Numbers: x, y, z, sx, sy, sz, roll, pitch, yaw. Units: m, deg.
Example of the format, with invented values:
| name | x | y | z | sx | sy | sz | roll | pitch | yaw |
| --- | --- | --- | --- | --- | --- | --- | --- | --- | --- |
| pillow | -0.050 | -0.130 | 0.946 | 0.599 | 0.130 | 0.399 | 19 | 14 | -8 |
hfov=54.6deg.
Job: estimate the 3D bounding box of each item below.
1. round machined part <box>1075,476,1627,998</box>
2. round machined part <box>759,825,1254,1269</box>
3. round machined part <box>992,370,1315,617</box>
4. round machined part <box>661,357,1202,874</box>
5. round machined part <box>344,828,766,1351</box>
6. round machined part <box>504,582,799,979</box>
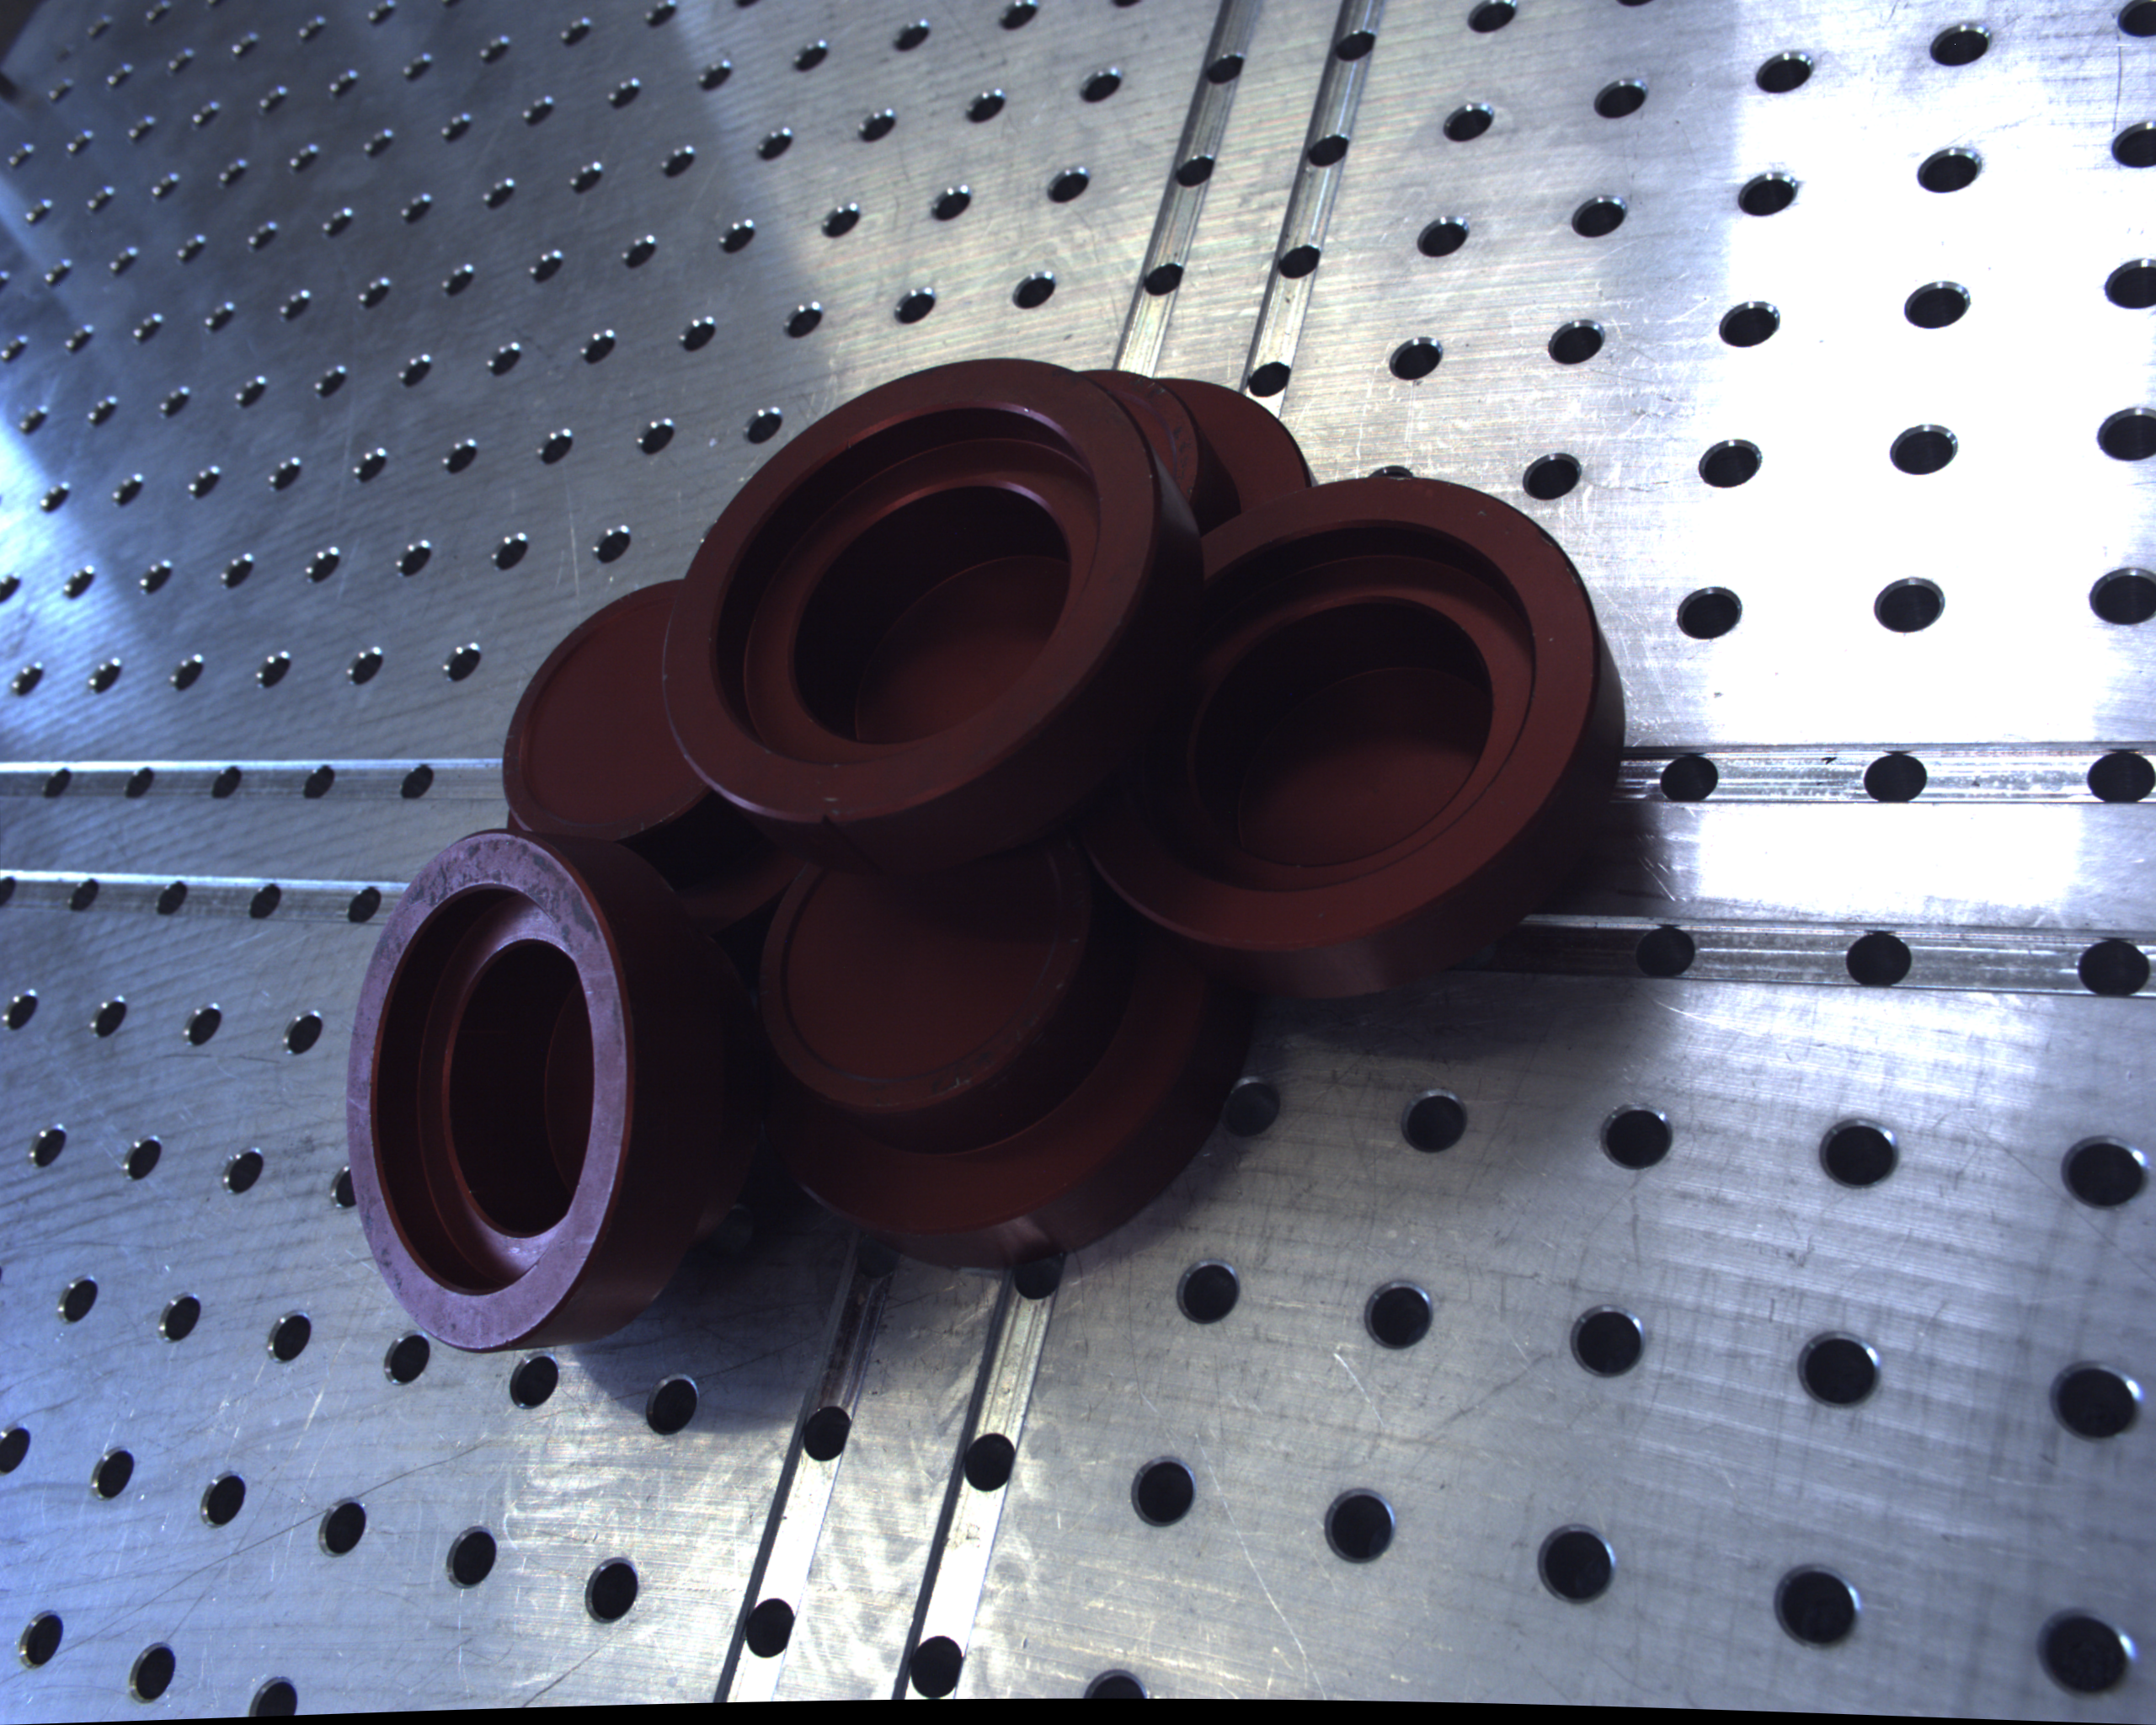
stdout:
| name | x | y | z | sx | sy | sz | roll | pitch | yaw |
| --- | --- | --- | --- | --- | --- | --- | --- | --- | --- |
| round machined part | 0.051 | -0.019 | 0.382 | 0.098 | 0.042 | 0.098 | -13 | 56 | 21 |
| round machined part | -0.020 | 0.023 | 0.394 | 0.098 | 0.042 | 0.098 | -13 | 56 | 21 |
| round machined part | 0.002 | -0.063 | 0.436 | 0.098 | 0.042 | 0.098 | -13 | 56 | 21 |
| round machined part | -0.023 | -0.041 | 0.380 | 0.098 | 0.042 | 0.098 | -13 | 56 | 21 |
| round machined part | -0.099 | 0.044 | 0.407 | 0.098 | 0.042 | 0.098 | -6 | 80 | 41 |
| round machined part | -0.085 | -0.023 | 0.457 | 0.098 | 0.042 | 0.098 | -13 | 56 | 21 |
